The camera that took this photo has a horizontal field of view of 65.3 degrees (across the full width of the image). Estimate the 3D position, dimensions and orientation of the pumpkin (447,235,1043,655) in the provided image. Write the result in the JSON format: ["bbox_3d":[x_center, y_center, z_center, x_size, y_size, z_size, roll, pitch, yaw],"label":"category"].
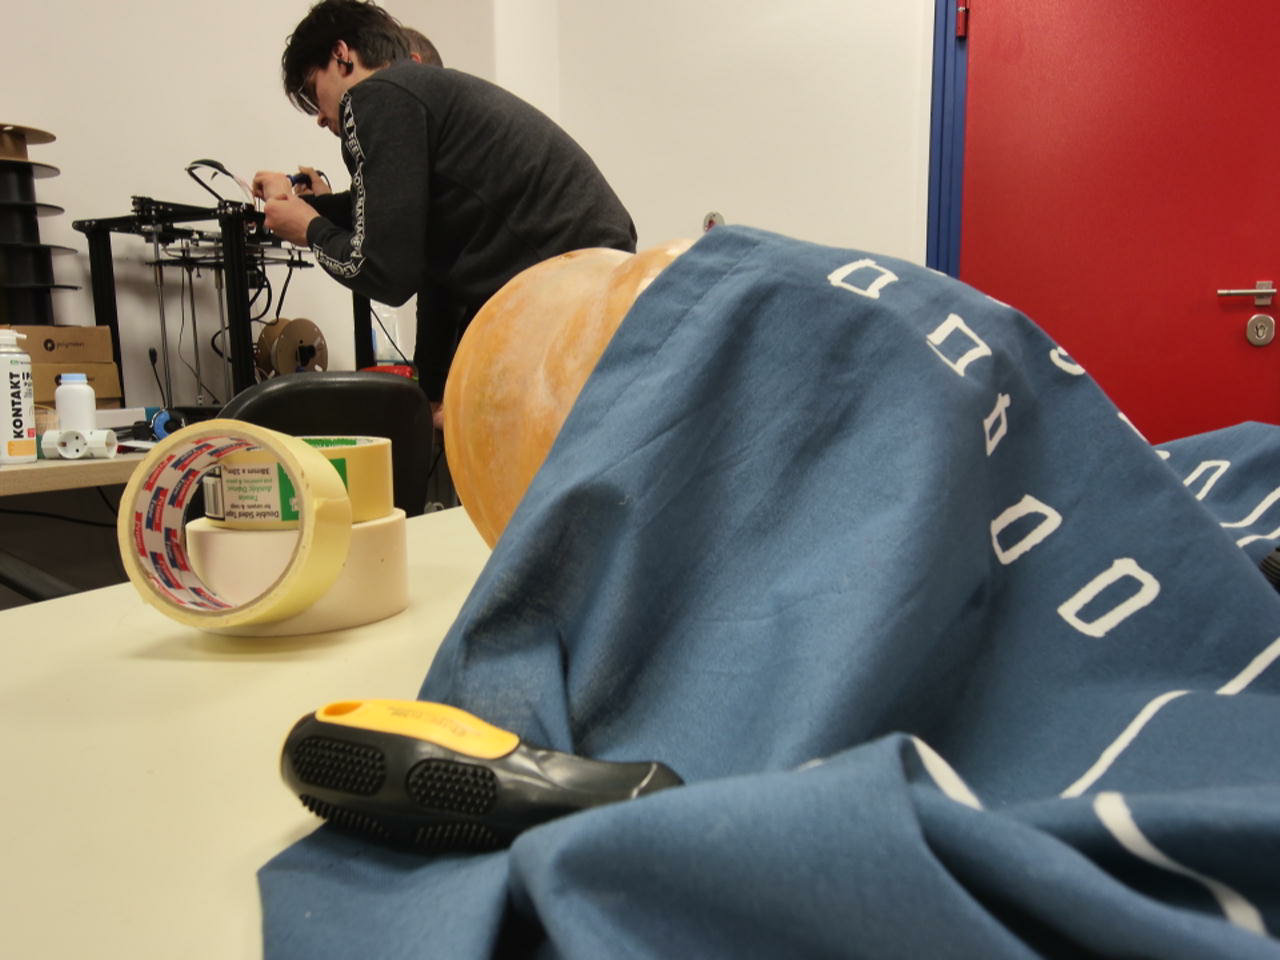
[{"bbox_3d":[0.041,-0.020,0.469,0.277,0.181,0.277,0,4,0],"label":"pumpkin"}]
